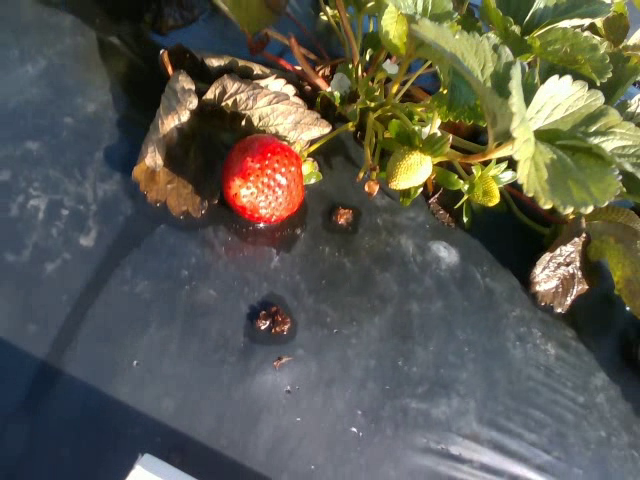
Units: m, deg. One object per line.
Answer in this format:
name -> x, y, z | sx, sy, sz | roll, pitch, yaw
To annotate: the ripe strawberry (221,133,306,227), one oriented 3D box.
ripe strawberry -> -0.026, -0.018, 0.227 | 0.037, 0.047, 0.054 | -38, 0, 35
